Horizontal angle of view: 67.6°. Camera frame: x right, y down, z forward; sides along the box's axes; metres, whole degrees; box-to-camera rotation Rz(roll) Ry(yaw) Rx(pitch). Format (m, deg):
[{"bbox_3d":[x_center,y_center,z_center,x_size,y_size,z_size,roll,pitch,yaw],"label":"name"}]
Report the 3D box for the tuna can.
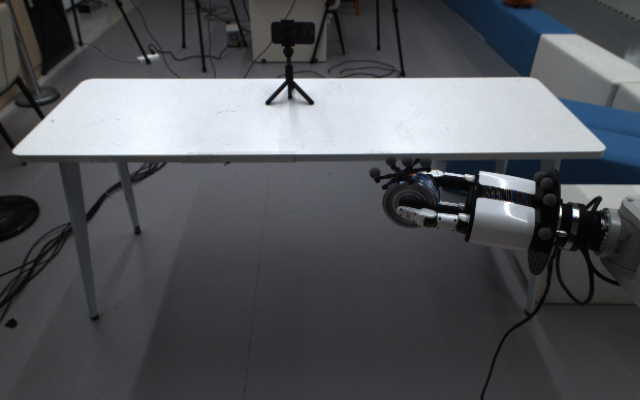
[{"bbox_3d":[0.142,-0.002,0.746,0.085,0.085,0.034,11,34,13],"label":"tuna can"}]
